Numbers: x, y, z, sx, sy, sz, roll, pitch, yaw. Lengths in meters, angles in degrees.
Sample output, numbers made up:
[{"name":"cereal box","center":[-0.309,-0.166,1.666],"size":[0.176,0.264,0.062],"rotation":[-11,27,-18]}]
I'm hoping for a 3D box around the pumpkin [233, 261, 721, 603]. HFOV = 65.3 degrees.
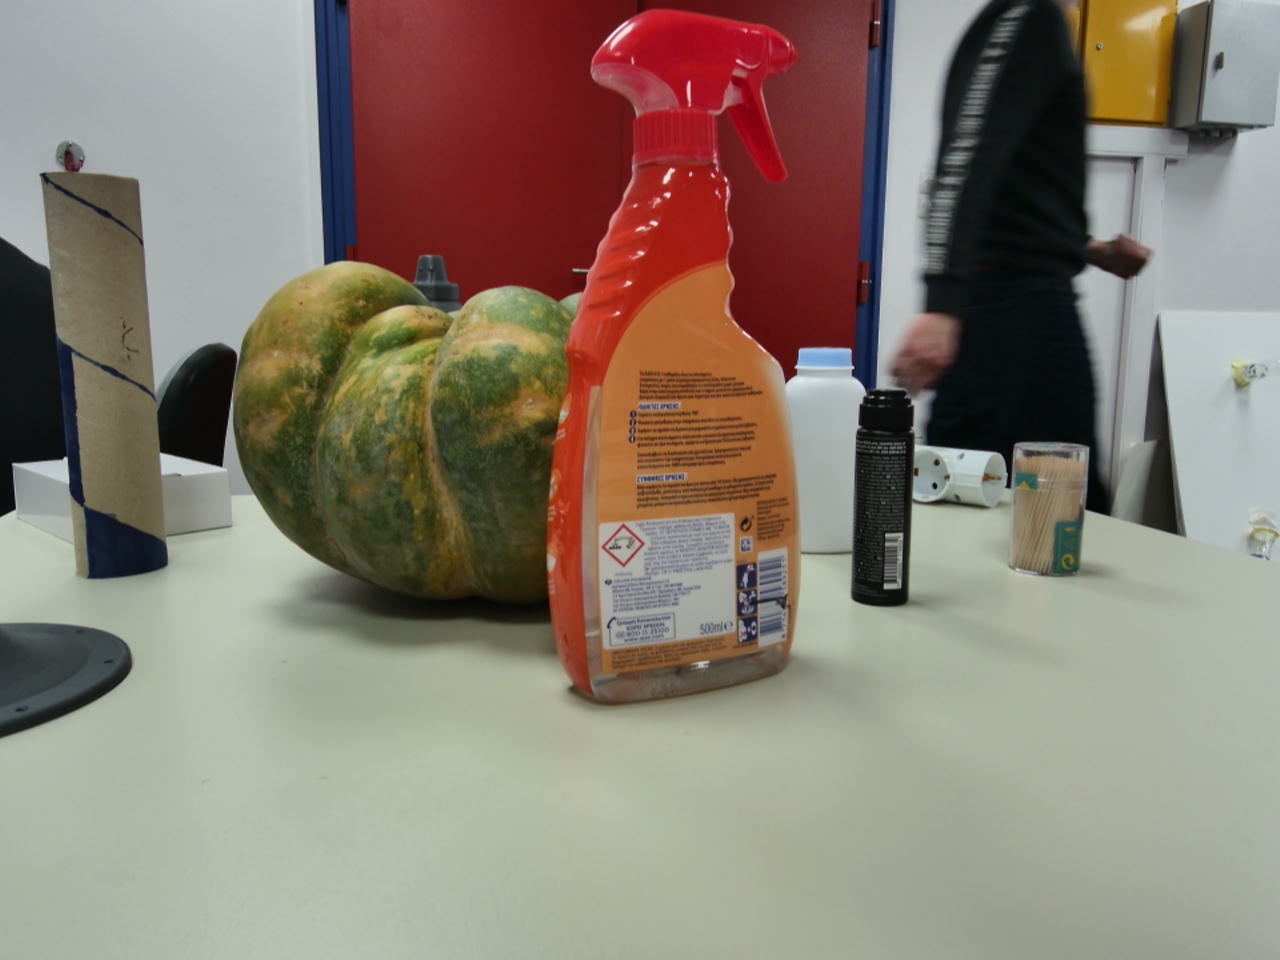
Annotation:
[{"name":"pumpkin","center":[-0.084,-0.027,0.547],"size":[0.270,0.173,0.237],"rotation":[3,7,24]}]
